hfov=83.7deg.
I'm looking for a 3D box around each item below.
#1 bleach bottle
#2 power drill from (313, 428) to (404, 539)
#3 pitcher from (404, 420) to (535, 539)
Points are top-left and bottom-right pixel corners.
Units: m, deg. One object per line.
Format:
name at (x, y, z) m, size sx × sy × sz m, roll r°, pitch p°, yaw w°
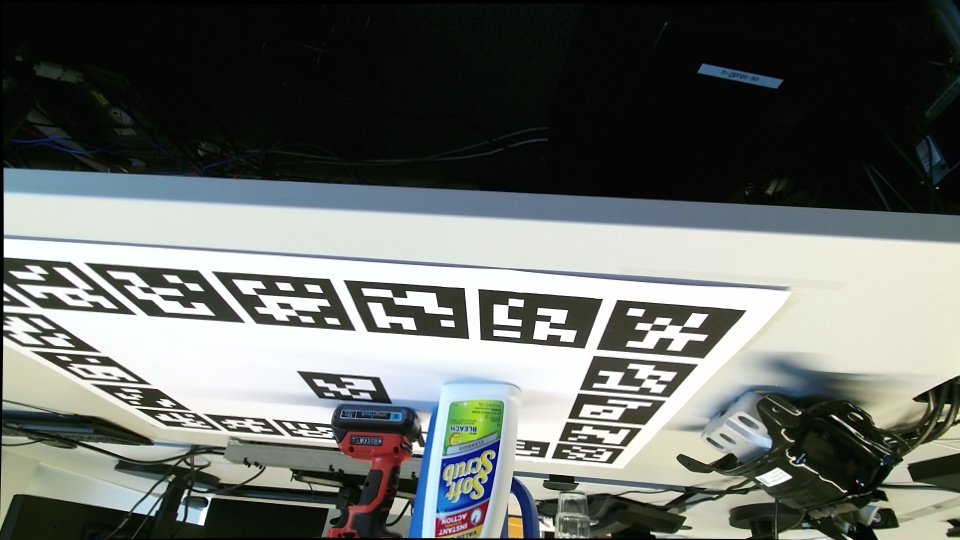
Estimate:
bleach bottle at (-0.011, 0.271, 0.570) m, size 0.103 × 0.249 × 0.068 m, roll -2°, pitch 145°, yaw 9°
power drill at (-0.187, 0.305, 0.695) m, size 0.185 × 0.186 × 0.057 m, roll 5°, pitch 143°, yaw 11°
pitcher at (-0.020, 0.312, 0.666) m, size 0.189 × 0.241 × 0.133 m, roll -13°, pitch 140°, yaw 25°
